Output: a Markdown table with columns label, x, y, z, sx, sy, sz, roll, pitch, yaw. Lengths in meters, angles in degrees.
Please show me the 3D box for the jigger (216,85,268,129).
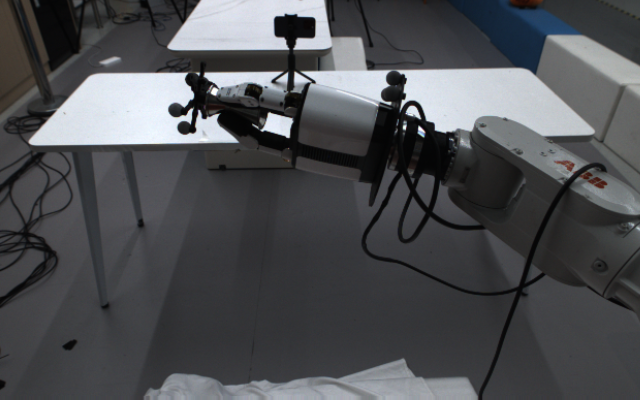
| label | x | y | z | sx | sy | sz | roll | pitch | yaw |
| --- | --- | --- | --- | --- | --- | --- | --- | --- | --- |
| jigger | -0.094 | -0.118 | 0.590 | 0.071 | 0.043 | 0.043 | 13 | 36 | 4 |
